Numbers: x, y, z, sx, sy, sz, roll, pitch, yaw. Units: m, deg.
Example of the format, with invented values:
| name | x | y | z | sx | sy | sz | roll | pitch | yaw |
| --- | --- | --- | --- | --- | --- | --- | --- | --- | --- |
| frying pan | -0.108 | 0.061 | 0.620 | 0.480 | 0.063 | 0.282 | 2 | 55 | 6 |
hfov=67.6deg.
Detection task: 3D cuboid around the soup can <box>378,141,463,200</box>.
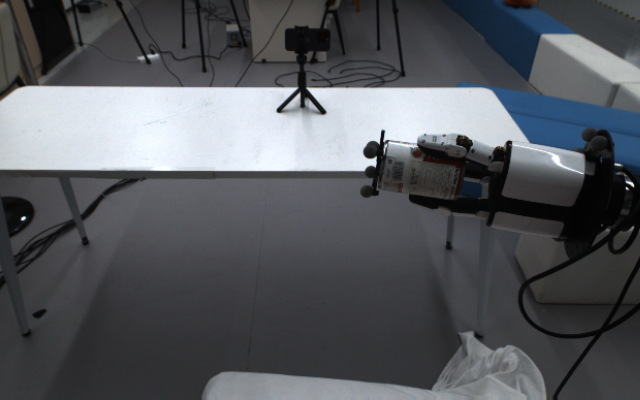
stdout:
| name | x | y | z | sx | sy | sz | roll | pitch | yaw |
| --- | --- | --- | --- | --- | --- | --- | --- | --- | --- |
| soup can | 0.133 | -0.040 | 0.627 | 0.101 | 0.067 | 0.067 | 9 | 35 | 9 |
